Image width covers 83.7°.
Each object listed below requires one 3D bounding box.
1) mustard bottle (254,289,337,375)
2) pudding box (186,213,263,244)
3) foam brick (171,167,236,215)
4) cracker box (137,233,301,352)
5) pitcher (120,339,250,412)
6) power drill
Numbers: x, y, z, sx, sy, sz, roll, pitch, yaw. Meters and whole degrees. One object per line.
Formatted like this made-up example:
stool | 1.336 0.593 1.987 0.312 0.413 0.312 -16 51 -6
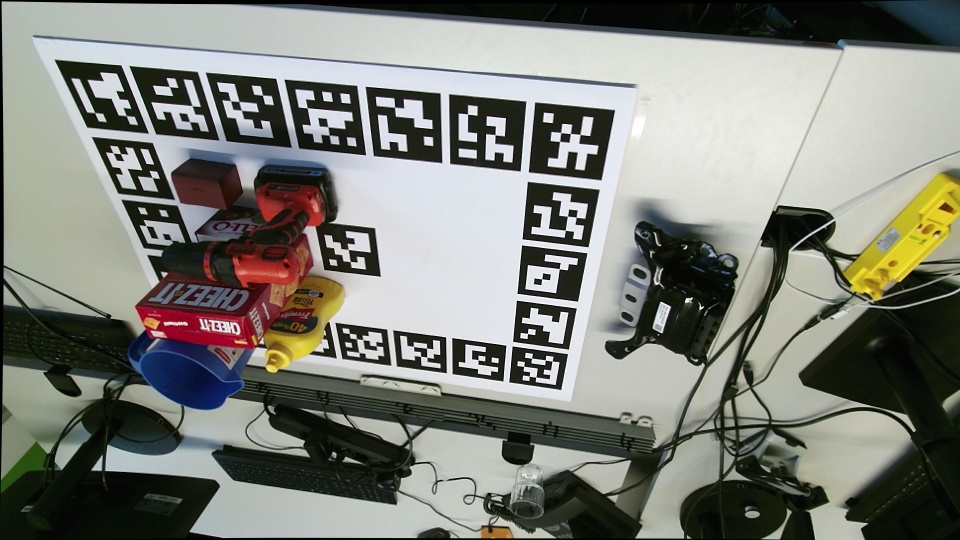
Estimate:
mustard bottle | -0.314 0.110 0.883 0.096 0.191 0.058 17 125 -2
pudding box | -0.381 -0.047 0.840 0.114 0.089 0.038 5 127 3
foam brick | -0.432 -0.124 0.834 0.078 0.051 0.053 8 124 4
cracker box | -0.397 0.022 0.827 0.165 0.213 0.072 3 127 5
pitcher | -0.447 0.103 0.887 0.189 0.241 0.133 10 126 0
power drill | -0.327 -0.051 0.743 0.185 0.186 0.057 5 129 7
